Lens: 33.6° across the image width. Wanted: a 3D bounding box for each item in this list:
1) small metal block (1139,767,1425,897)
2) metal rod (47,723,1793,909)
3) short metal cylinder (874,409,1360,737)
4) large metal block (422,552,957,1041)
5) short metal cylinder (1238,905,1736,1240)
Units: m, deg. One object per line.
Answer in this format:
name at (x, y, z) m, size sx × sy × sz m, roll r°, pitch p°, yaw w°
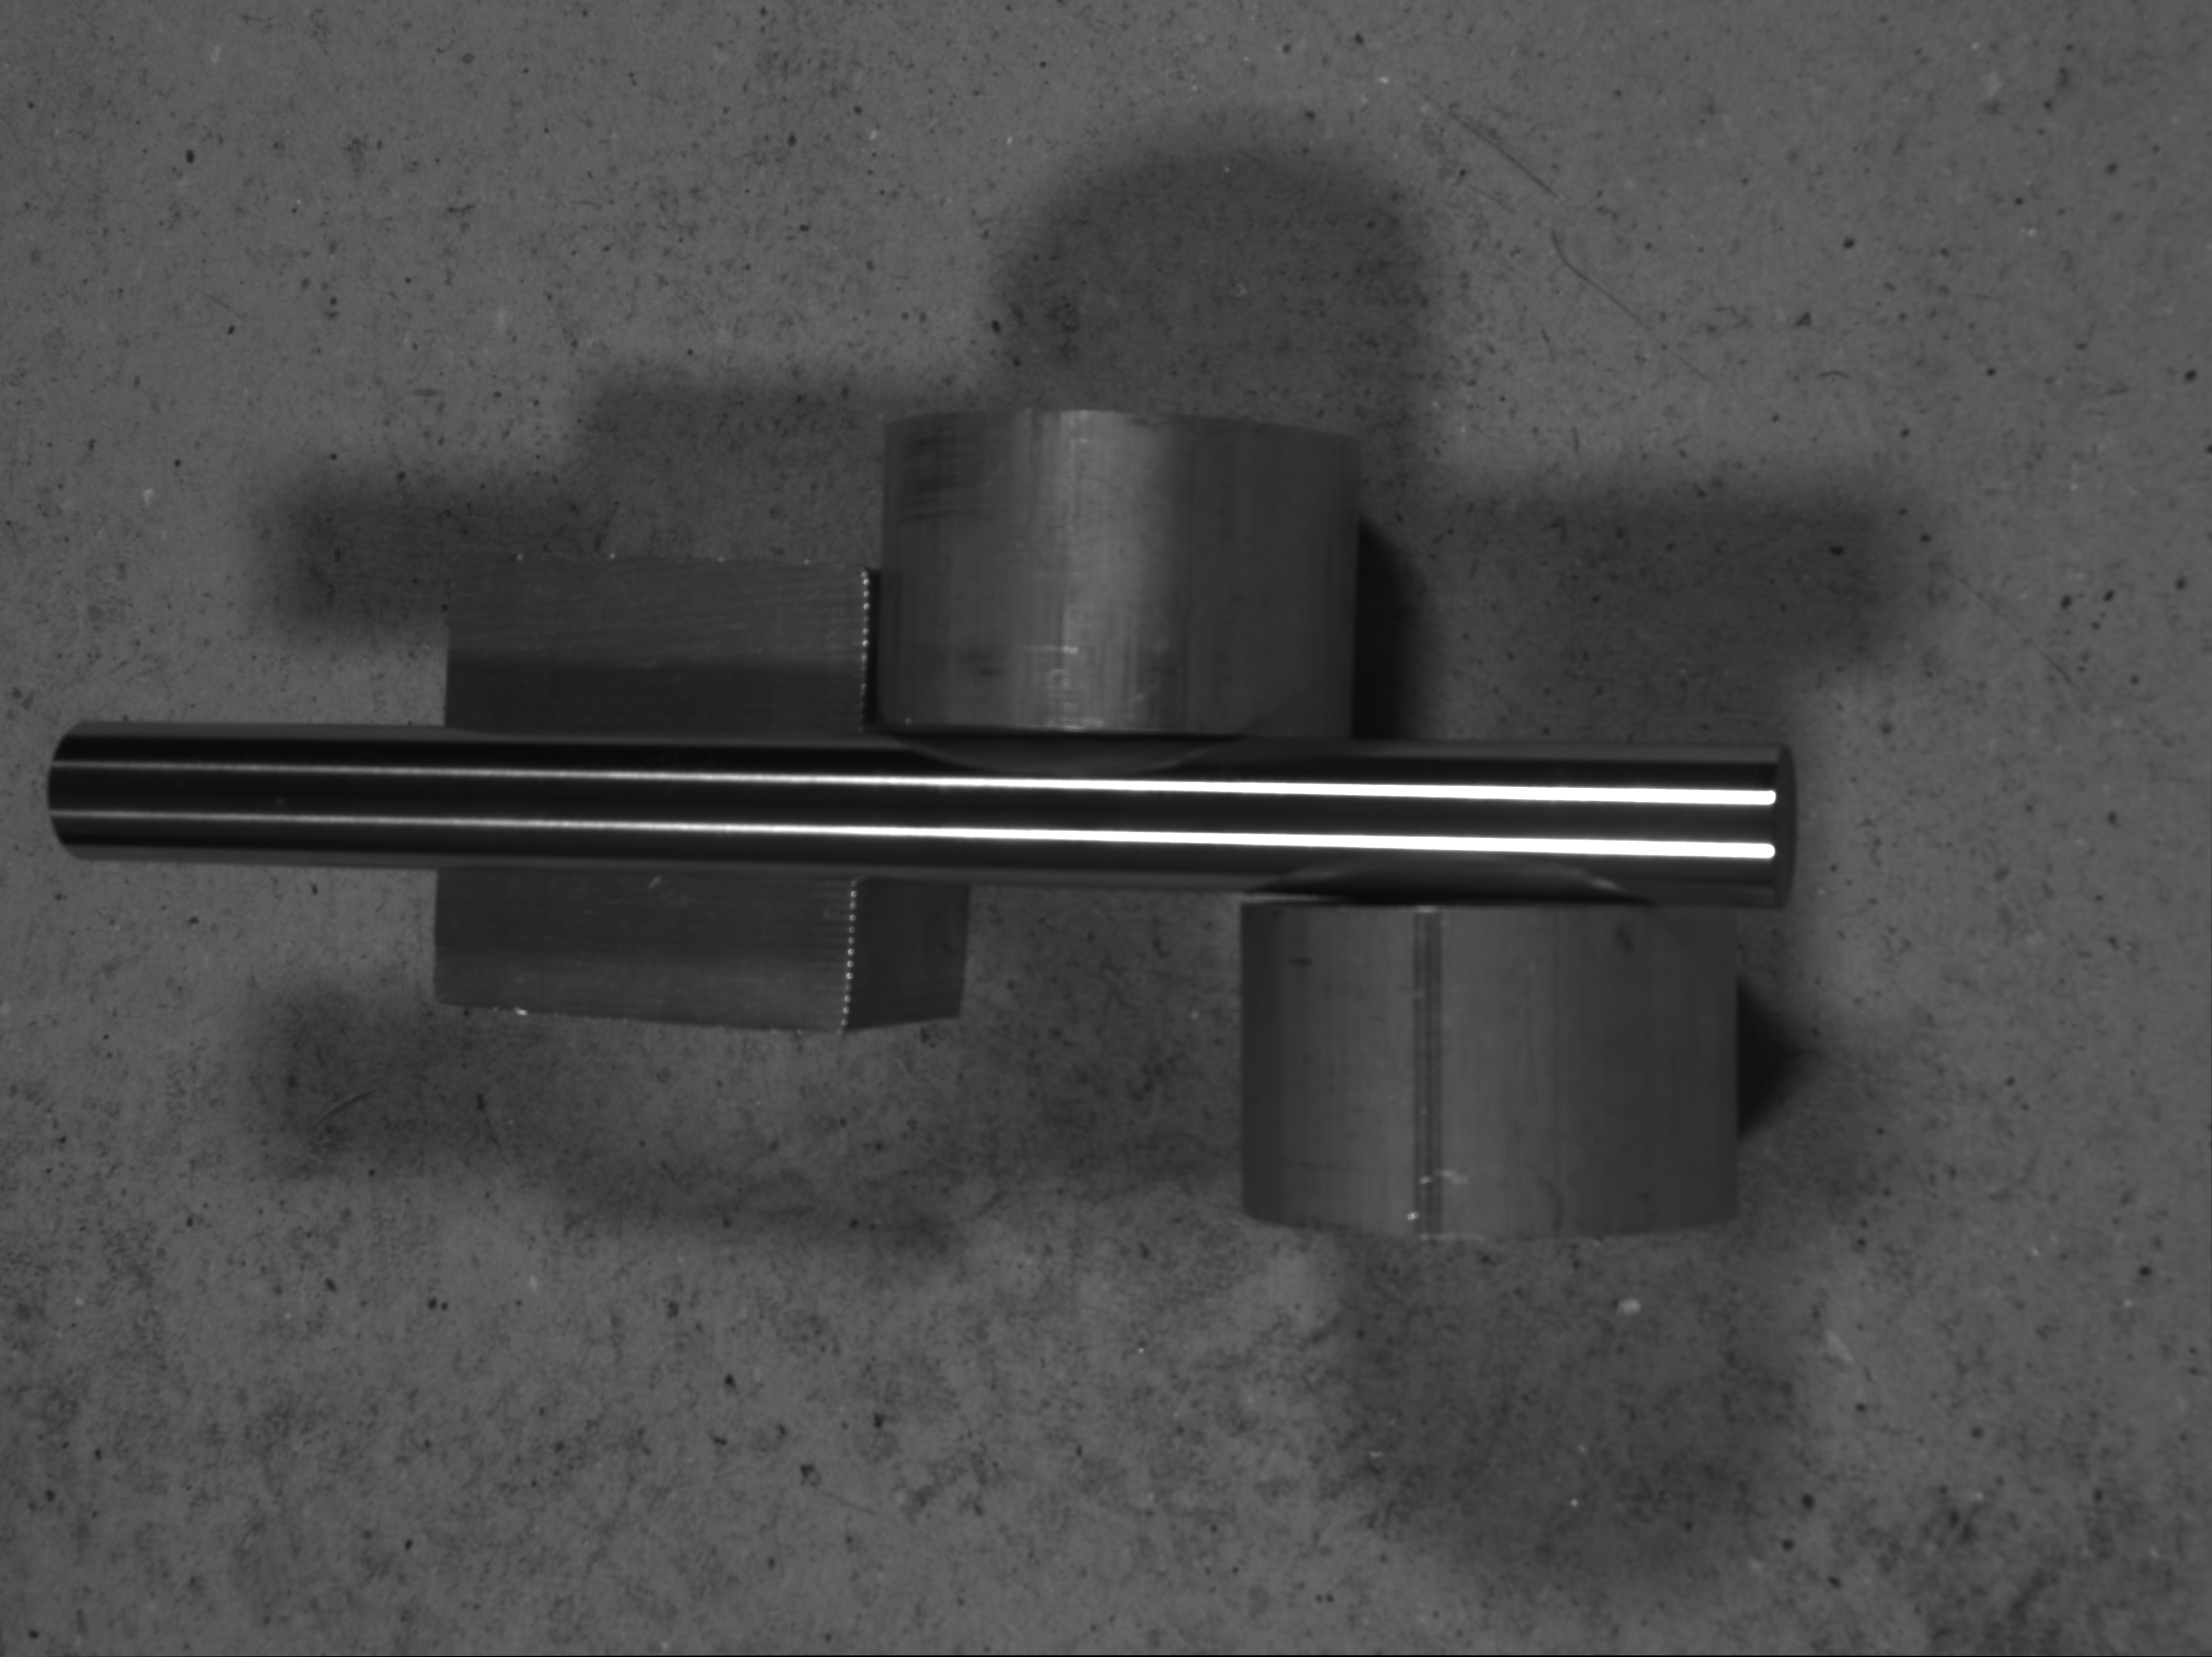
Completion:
small metal block at (0.035, -0.001, 0.618) m, size 0.050 × 0.050 × 0.025 m, roll 1°, pitch 90°, yaw 20°
metal rod at (-0.039, -0.003, 0.604) m, size 0.300 × 0.025 × 0.025 m, roll 1°, pitch 90°, yaw 19°
short metal cylinder at (0.002, -0.041, 0.615) m, size 0.080 × 0.080 × 0.050 m, roll 2°, pitch 91°, yaw 20°
large metal block at (-0.072, -0.006, 0.654) m, size 0.080 × 0.050 × 0.080 m, roll 3°, pitch 91°, yaw 20°
short metal cylinder at (0.061, 0.037, 0.593) m, size 0.080 × 0.080 × 0.050 m, roll 0°, pitch 90°, yaw 20°
